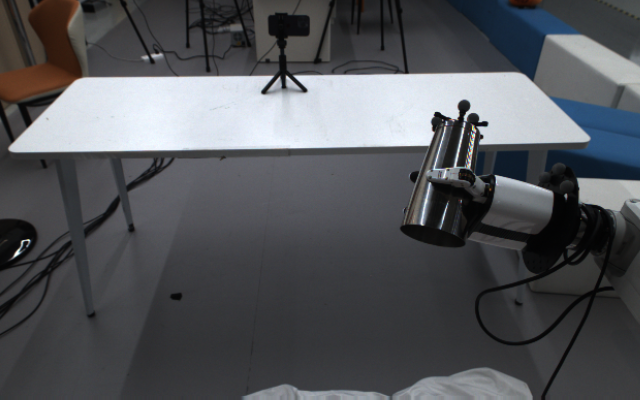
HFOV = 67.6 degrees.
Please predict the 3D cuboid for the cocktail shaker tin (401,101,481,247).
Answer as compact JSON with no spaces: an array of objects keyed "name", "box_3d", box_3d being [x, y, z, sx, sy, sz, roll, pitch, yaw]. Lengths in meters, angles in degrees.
[{"name":"cocktail shaker tin","box_3d":[0.182,-0.027,0.701,0.093,0.093,0.170,13,74,16]}]
